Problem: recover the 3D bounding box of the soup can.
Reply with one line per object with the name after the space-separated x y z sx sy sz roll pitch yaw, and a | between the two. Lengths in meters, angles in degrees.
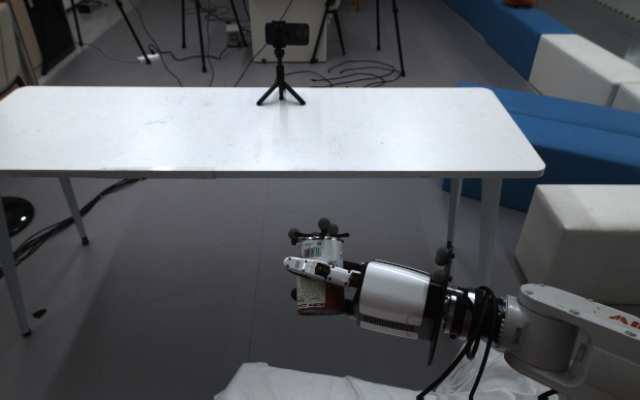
0.003 0.107 0.673 0.067 0.067 0.101 -1 71 -5 | soup can
